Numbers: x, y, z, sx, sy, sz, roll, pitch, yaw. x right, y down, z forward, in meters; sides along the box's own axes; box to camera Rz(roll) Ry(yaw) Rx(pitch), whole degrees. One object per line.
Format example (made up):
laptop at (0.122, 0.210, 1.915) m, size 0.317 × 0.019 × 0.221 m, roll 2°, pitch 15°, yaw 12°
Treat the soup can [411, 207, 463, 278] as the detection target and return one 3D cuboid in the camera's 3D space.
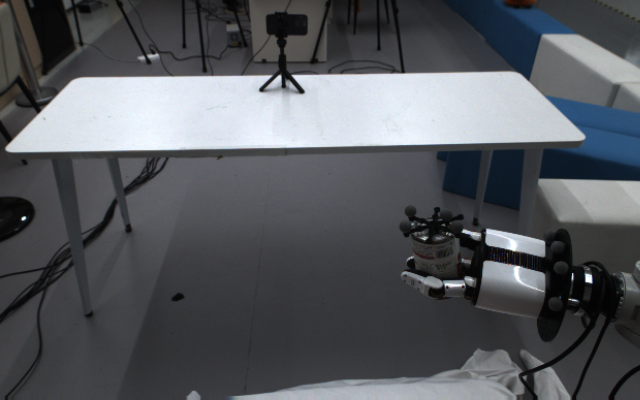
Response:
soup can at (0.171, 0.083, 0.698) m, size 0.067 × 0.101 × 0.067 m, roll -11°, pitch 27°, yaw 6°
